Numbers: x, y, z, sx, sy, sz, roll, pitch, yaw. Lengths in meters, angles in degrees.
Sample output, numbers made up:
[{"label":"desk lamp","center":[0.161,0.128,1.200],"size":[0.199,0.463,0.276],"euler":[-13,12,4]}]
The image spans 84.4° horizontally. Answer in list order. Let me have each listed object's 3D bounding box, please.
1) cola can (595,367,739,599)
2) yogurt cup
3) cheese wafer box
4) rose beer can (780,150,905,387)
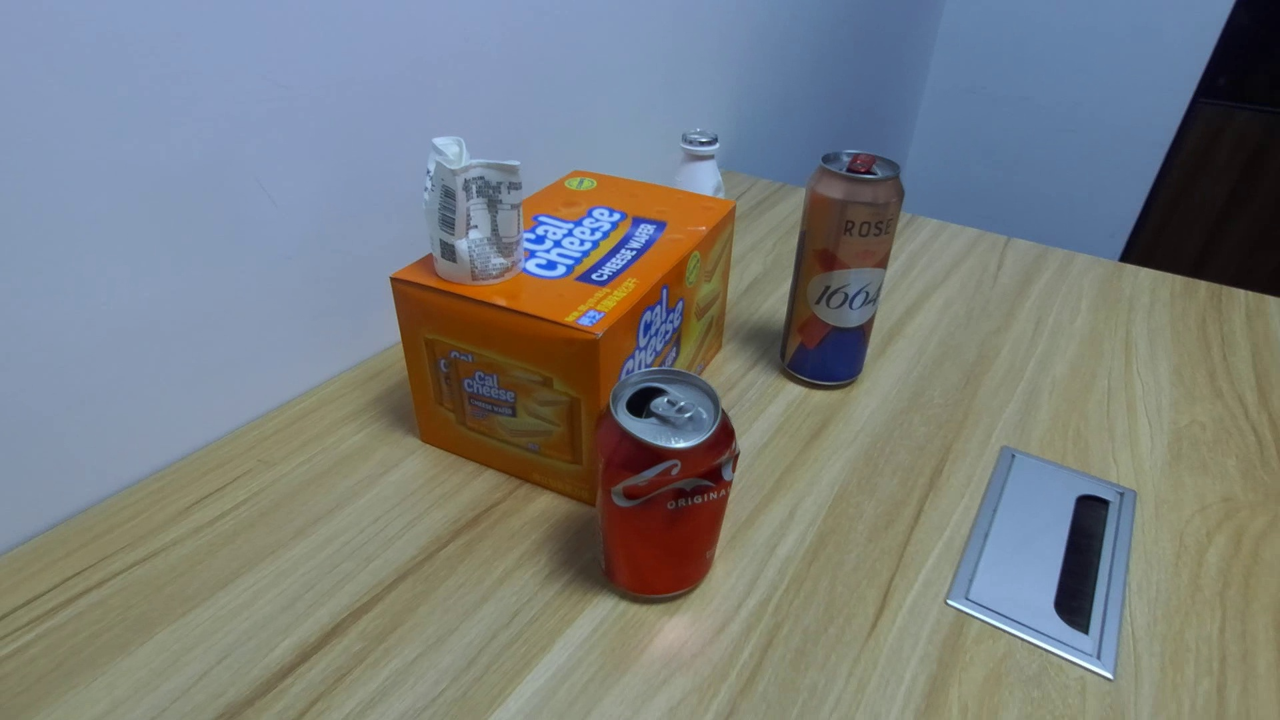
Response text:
[{"label":"cola can","center":[0.013,0.064,0.372],"size":[0.072,0.117,0.065],"euler":[-6,34,-10]},{"label":"yogurt cup","center":[-0.097,-0.086,0.409],"size":[0.055,0.072,0.054],"euler":[-9,37,-16]},{"label":"cheese wafer box","center":[-0.039,-0.032,0.507],"size":[0.148,0.129,0.222],"euler":[17,37,20]},{"label":"rose beer can","center":[0.148,-0.062,0.525],"size":[0.068,0.169,0.068],"euler":[3,32,-1]}]
